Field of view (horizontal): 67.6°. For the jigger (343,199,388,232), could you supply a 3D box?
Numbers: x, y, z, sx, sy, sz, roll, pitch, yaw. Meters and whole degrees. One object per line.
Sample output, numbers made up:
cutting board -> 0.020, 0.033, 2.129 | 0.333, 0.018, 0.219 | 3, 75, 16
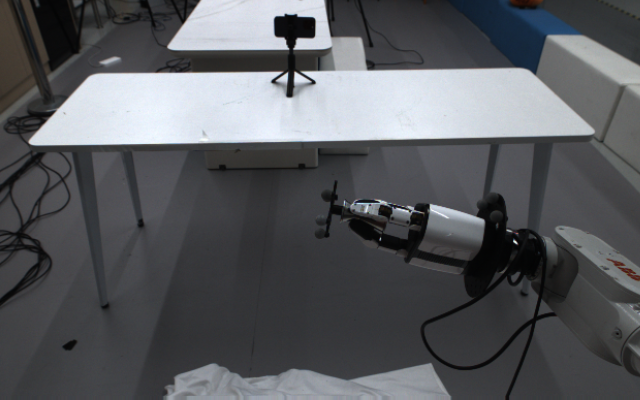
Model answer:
jigger -> 0.074, 0.019, 0.733 | 0.071, 0.043, 0.043 | 11, 35, 3
